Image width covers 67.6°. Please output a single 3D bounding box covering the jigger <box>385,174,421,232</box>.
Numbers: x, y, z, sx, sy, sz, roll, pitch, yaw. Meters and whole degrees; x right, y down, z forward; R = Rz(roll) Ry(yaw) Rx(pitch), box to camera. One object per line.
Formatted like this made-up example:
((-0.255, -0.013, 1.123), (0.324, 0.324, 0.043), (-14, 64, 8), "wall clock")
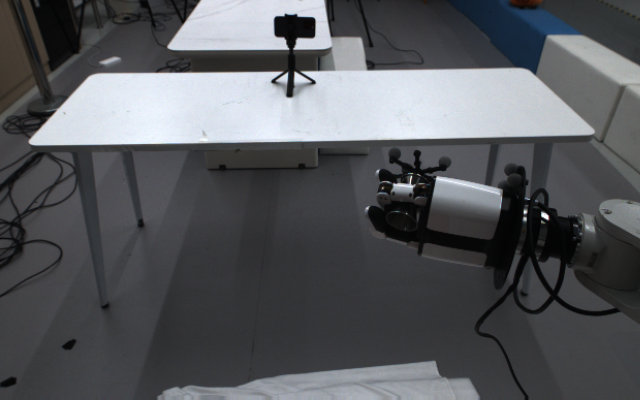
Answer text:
((0.121, 0.002, 0.649), (0.043, 0.043, 0.071), (13, 58, 15), "jigger")
